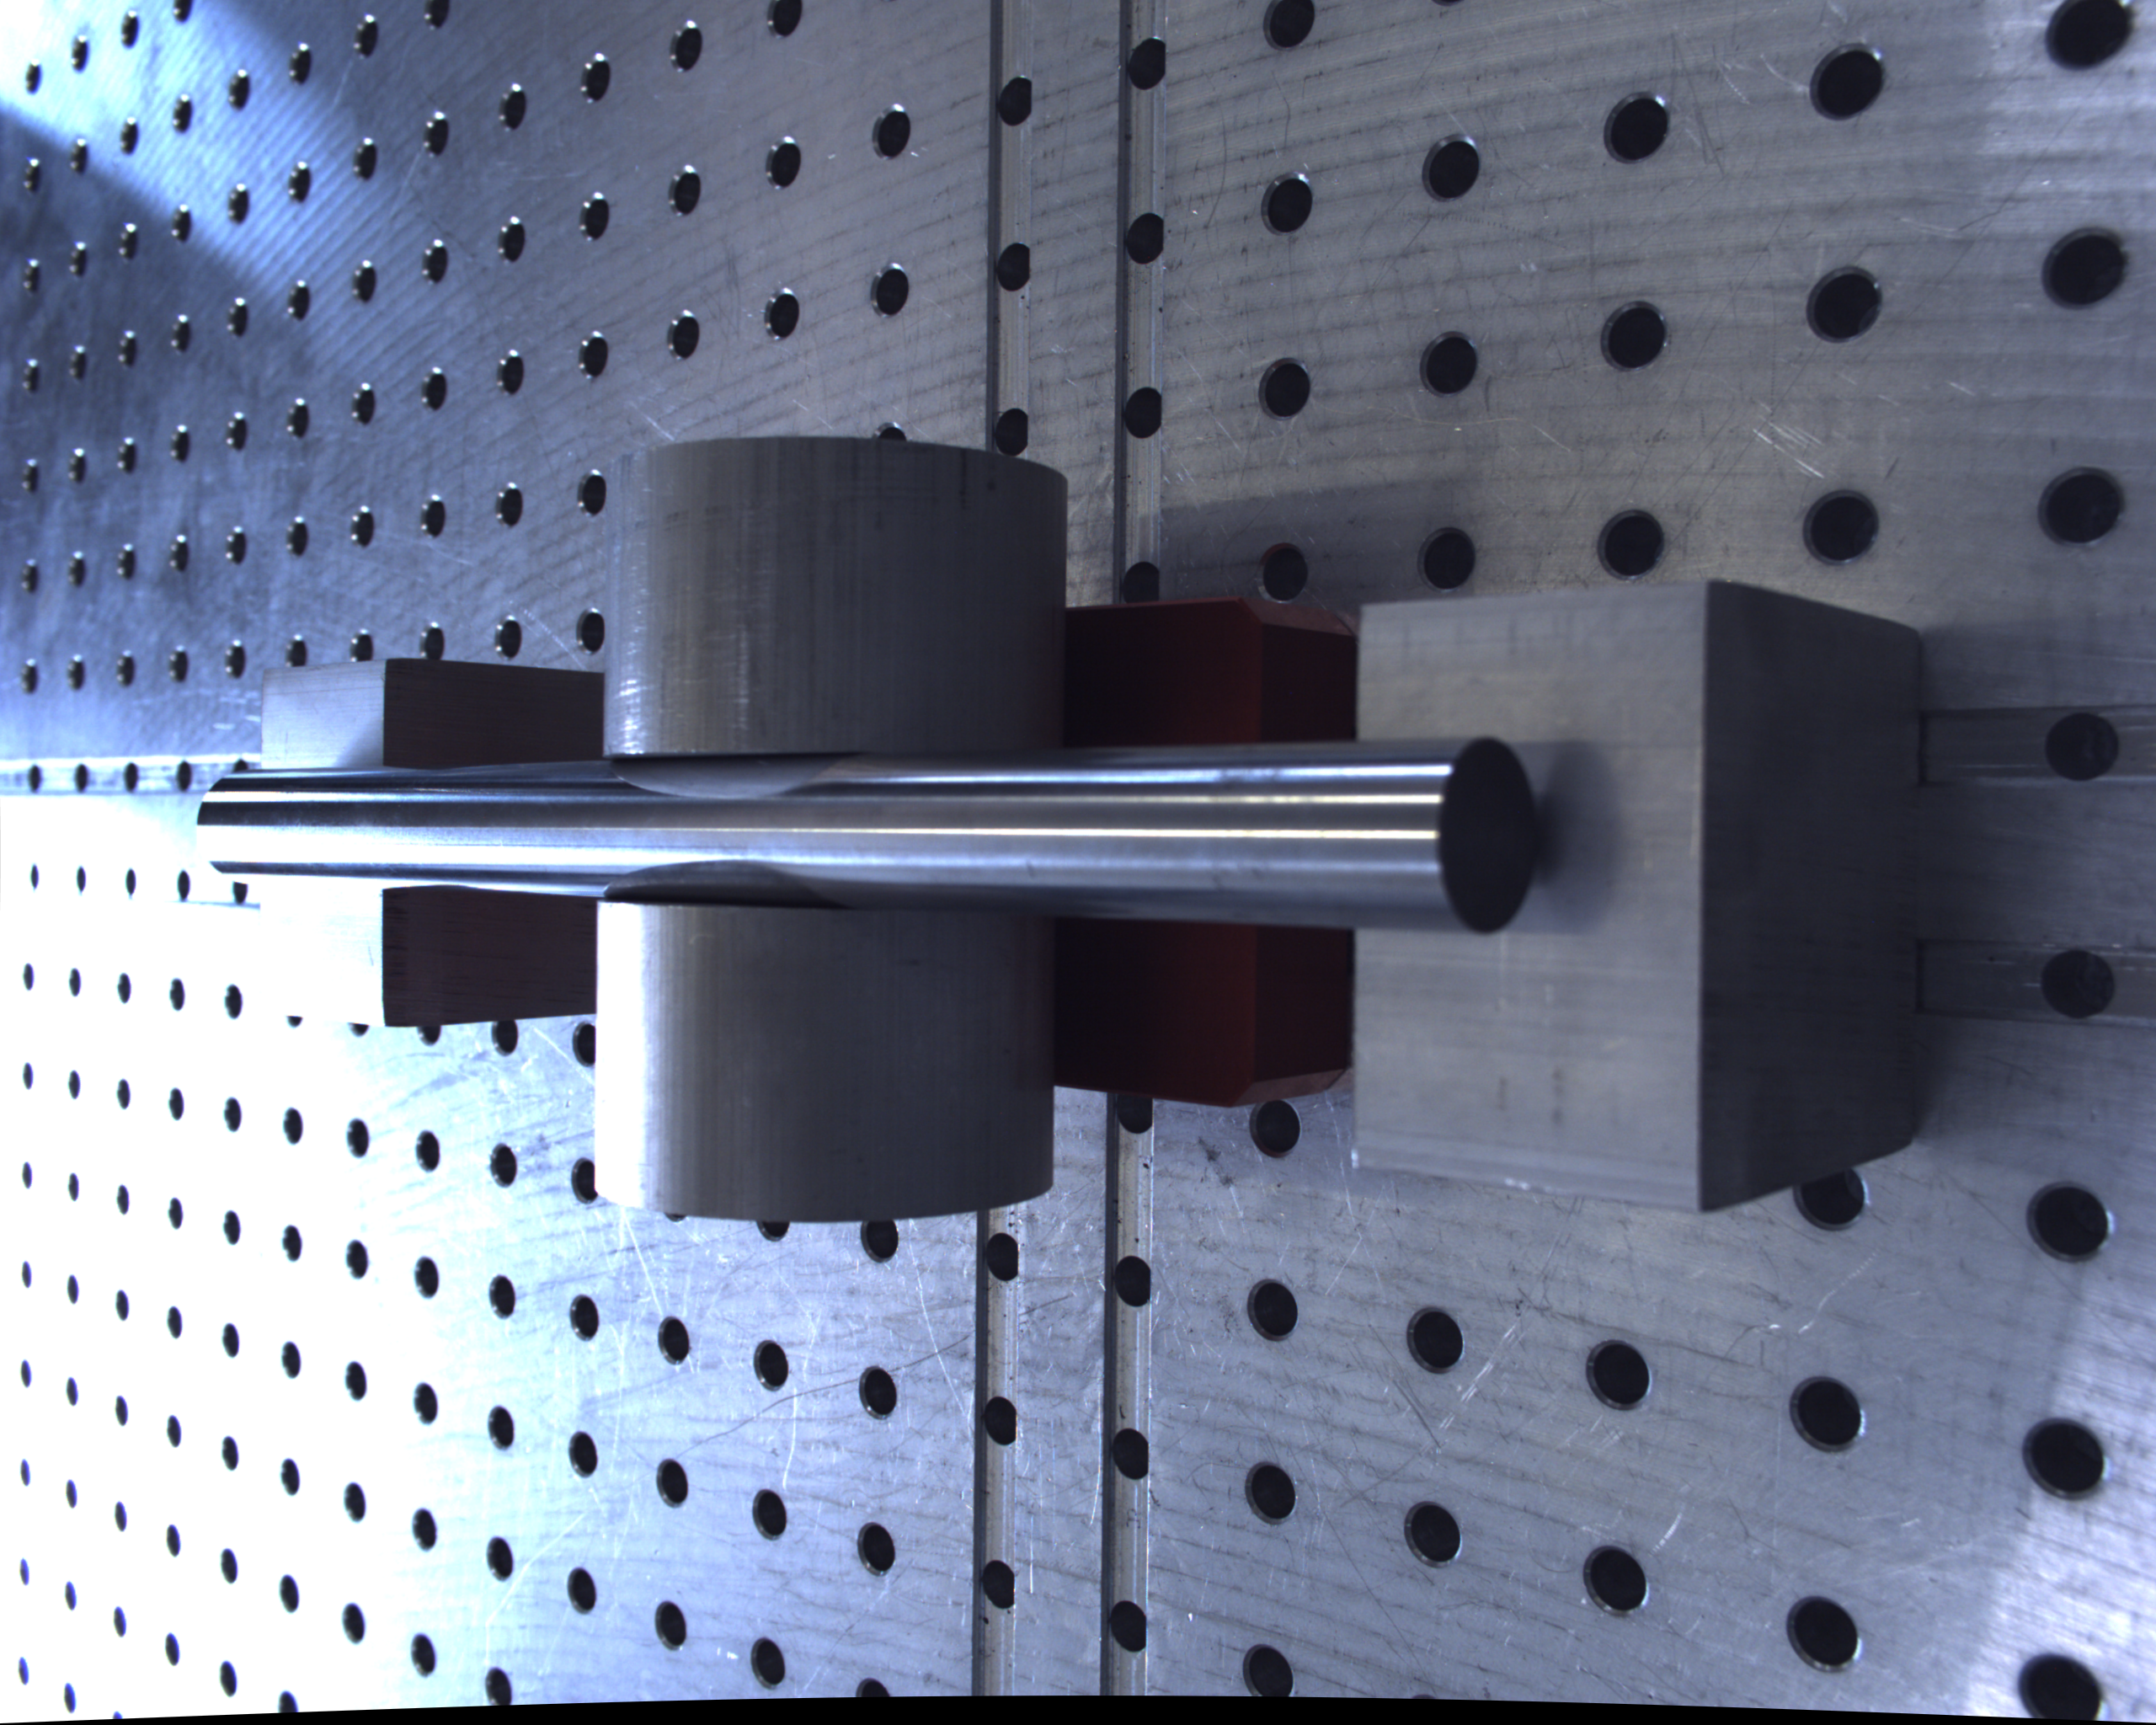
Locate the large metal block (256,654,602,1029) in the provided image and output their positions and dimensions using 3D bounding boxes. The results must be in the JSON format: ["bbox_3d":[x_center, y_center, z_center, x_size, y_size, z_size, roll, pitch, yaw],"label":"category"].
[{"bbox_3d":[-0.142,-0.005,0.489,0.050,0.081,0.080,1,91,40],"label":"large metal block"}]

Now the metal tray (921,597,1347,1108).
[{"bbox_3d":[-0.009,-0.003,0.414,0.130,0.030,0.089,2,91,40],"label":"metal tray"}]

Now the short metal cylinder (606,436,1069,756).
[{"bbox_3d":[-0.042,-0.043,0.369,0.080,0.081,0.050,1,91,40],"label":"short metal cylinder"}]

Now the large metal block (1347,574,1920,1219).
[{"bbox_3d":[0.083,0.004,0.304,0.050,0.081,0.080,1,91,40],"label":"large metal block"}]

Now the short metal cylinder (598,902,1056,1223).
[{"bbox_3d":[-0.044,0.032,0.371,0.080,0.081,0.050,1,91,40],"label":"short metal cylinder"}]

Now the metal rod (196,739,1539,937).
[{"bbox_3d":[-0.064,-0.005,0.357,0.300,0.025,0.025,1,91,40],"label":"metal rod"}]
